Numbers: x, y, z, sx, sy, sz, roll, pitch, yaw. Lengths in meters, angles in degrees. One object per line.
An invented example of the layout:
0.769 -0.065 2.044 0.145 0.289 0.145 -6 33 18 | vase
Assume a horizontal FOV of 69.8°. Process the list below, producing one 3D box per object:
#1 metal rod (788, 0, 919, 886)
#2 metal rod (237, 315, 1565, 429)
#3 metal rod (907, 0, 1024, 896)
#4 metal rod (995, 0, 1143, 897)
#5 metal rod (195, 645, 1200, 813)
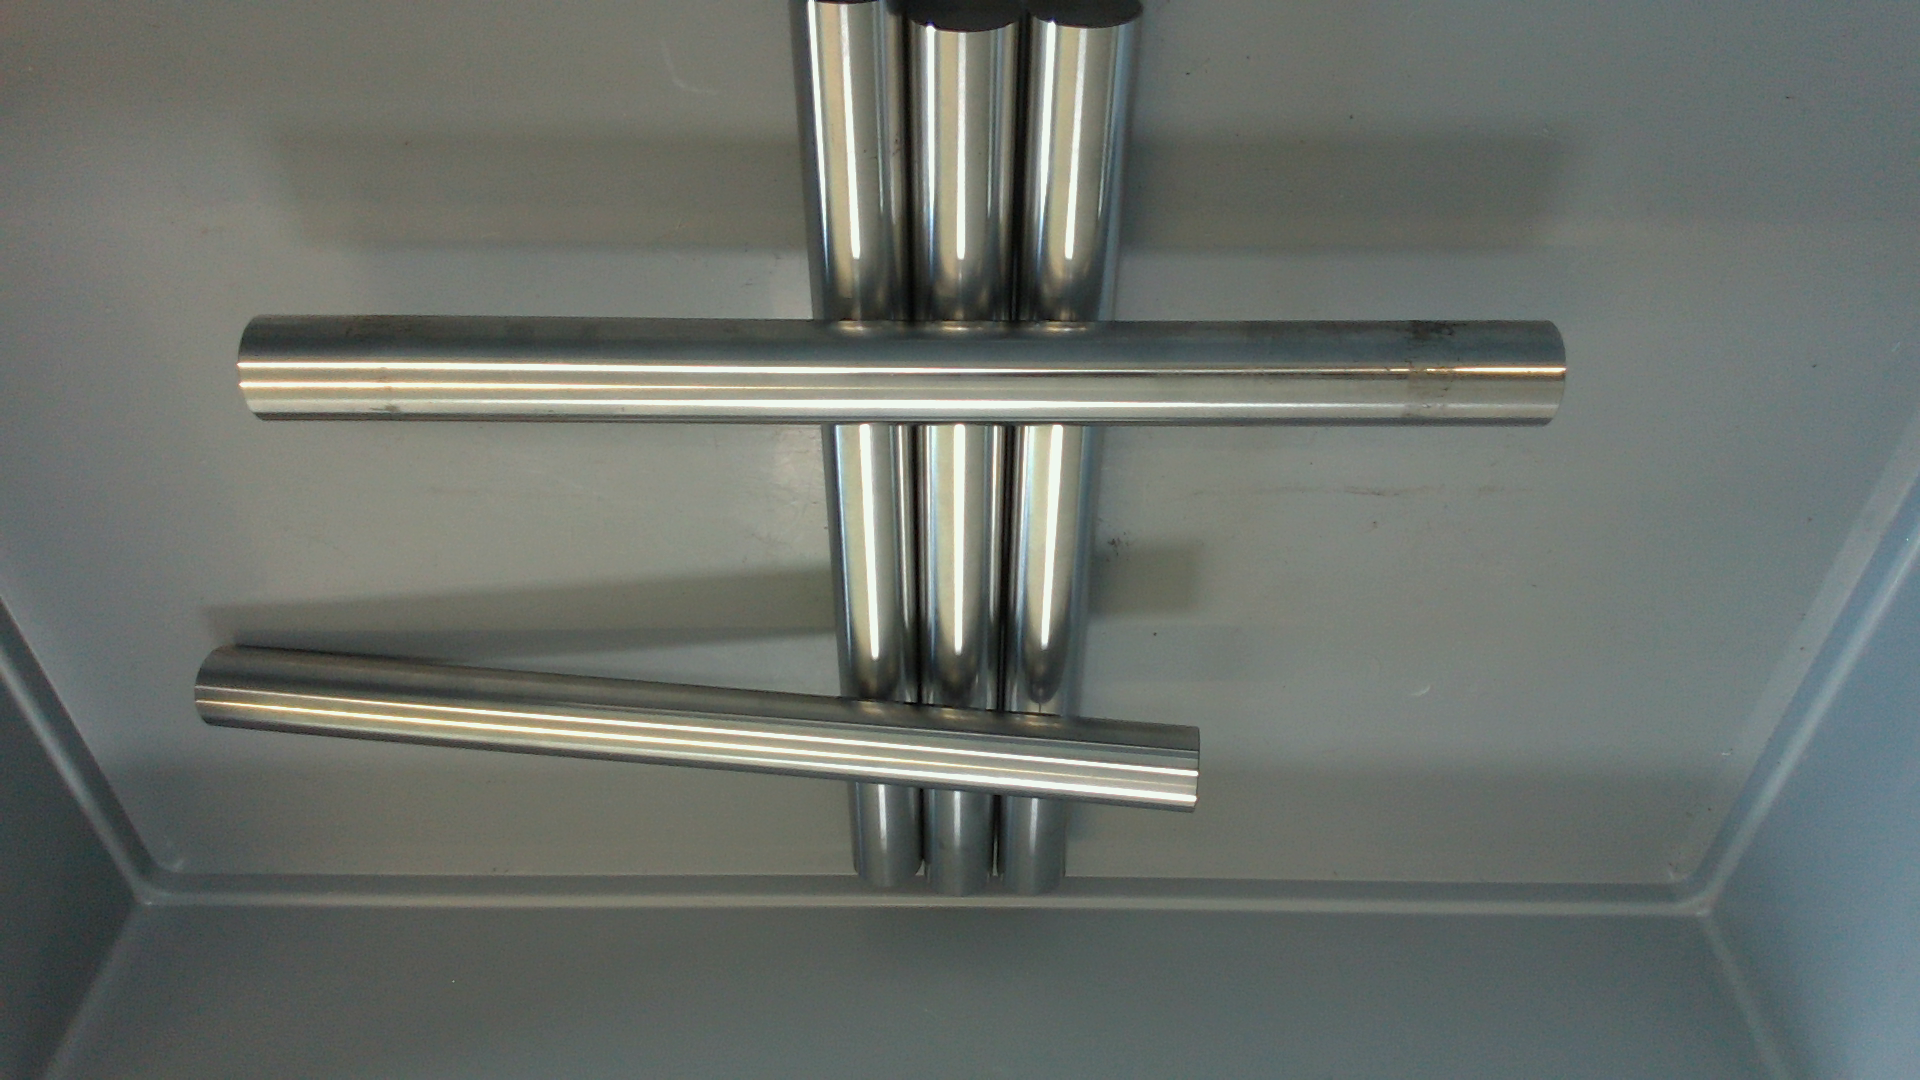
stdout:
-0.025 -0.003 0.387 0.025 0.025 0.300 0 130 0 | metal rod
-0.013 -0.039 0.323 0.300 0.025 0.025 0 130 0 | metal rod
0.000 0.001 0.391 0.025 0.025 0.300 0 130 0 | metal rod
0.025 0.001 0.390 0.025 0.025 0.300 0 130 0 | metal rod
-0.080 0.056 0.413 0.300 0.025 0.025 4 130 5 | metal rod
